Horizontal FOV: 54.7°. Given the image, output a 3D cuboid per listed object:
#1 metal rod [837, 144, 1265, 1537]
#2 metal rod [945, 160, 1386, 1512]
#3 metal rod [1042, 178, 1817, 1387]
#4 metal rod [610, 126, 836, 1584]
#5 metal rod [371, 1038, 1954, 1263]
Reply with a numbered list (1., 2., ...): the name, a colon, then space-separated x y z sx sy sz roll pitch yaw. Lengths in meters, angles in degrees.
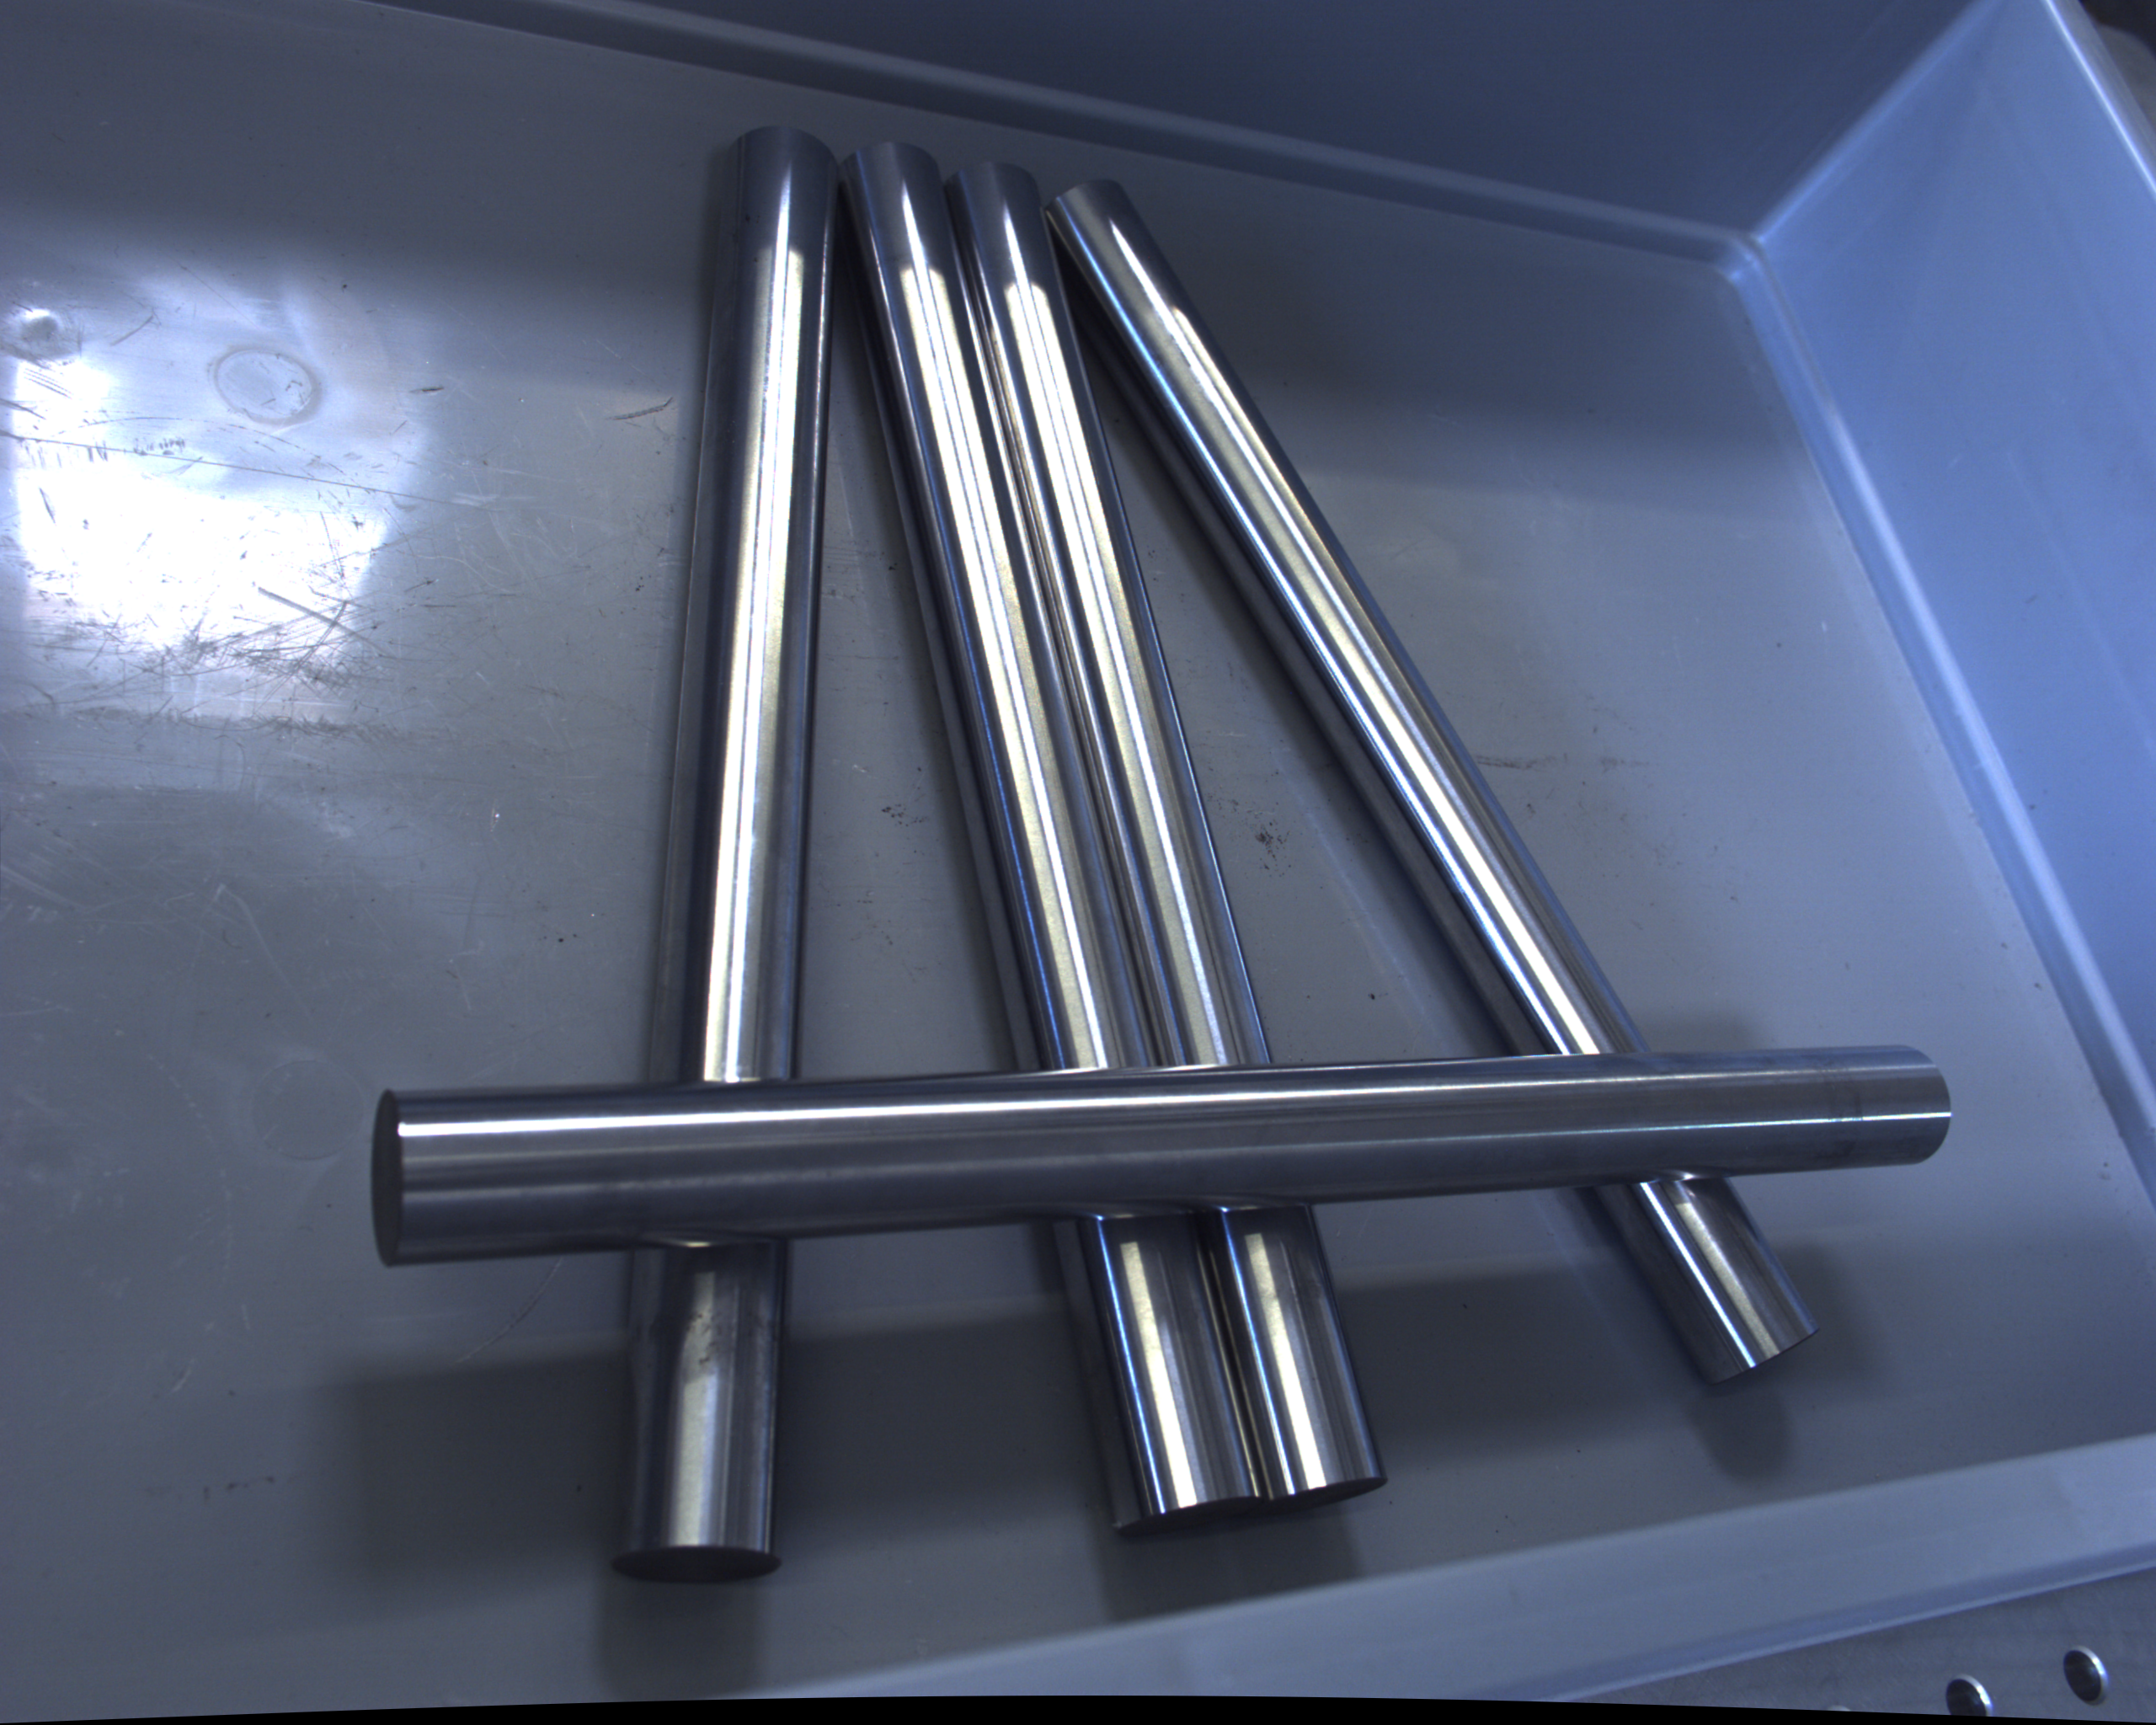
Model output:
1. metal rod: -0.012 -0.022 0.411 0.025 0.025 0.299 1 61 -28
2. metal rod: 0.009 -0.023 0.423 0.025 0.025 0.299 1 61 -28
3. metal rod: 0.068 -0.028 0.457 0.025 0.025 0.299 -17 71 -35
4. metal rod: -0.061 -0.024 0.386 0.025 0.025 0.299 12 57 -22
5. metal rod: 0.037 0.046 0.362 0.303 0.025 0.025 1 61 -28
